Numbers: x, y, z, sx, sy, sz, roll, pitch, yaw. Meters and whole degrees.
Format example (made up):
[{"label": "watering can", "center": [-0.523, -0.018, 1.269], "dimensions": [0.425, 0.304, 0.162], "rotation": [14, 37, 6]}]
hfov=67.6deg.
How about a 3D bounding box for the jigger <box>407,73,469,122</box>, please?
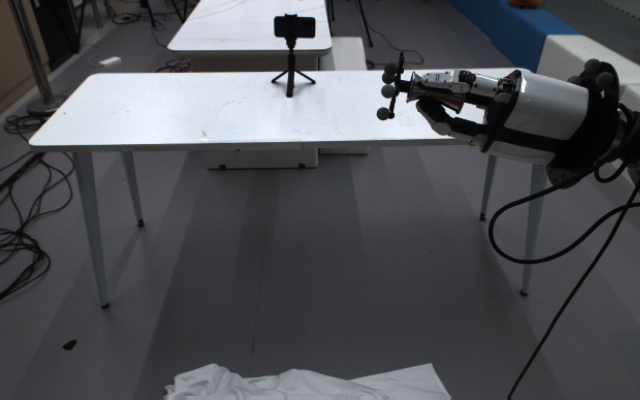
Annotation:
[{"label": "jigger", "center": [0.154, -0.143, 0.617], "dimensions": [0.071, 0.043, 0.043], "rotation": [11, 35, 3]}]
